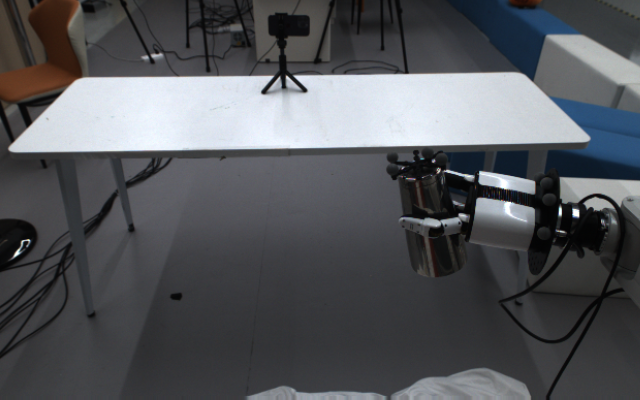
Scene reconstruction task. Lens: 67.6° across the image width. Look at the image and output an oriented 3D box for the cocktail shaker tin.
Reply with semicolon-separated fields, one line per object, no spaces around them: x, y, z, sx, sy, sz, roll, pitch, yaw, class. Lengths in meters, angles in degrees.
0.170;0.024;0.749;0.093;0.170;0.093;-15;29;8;cocktail shaker tin
